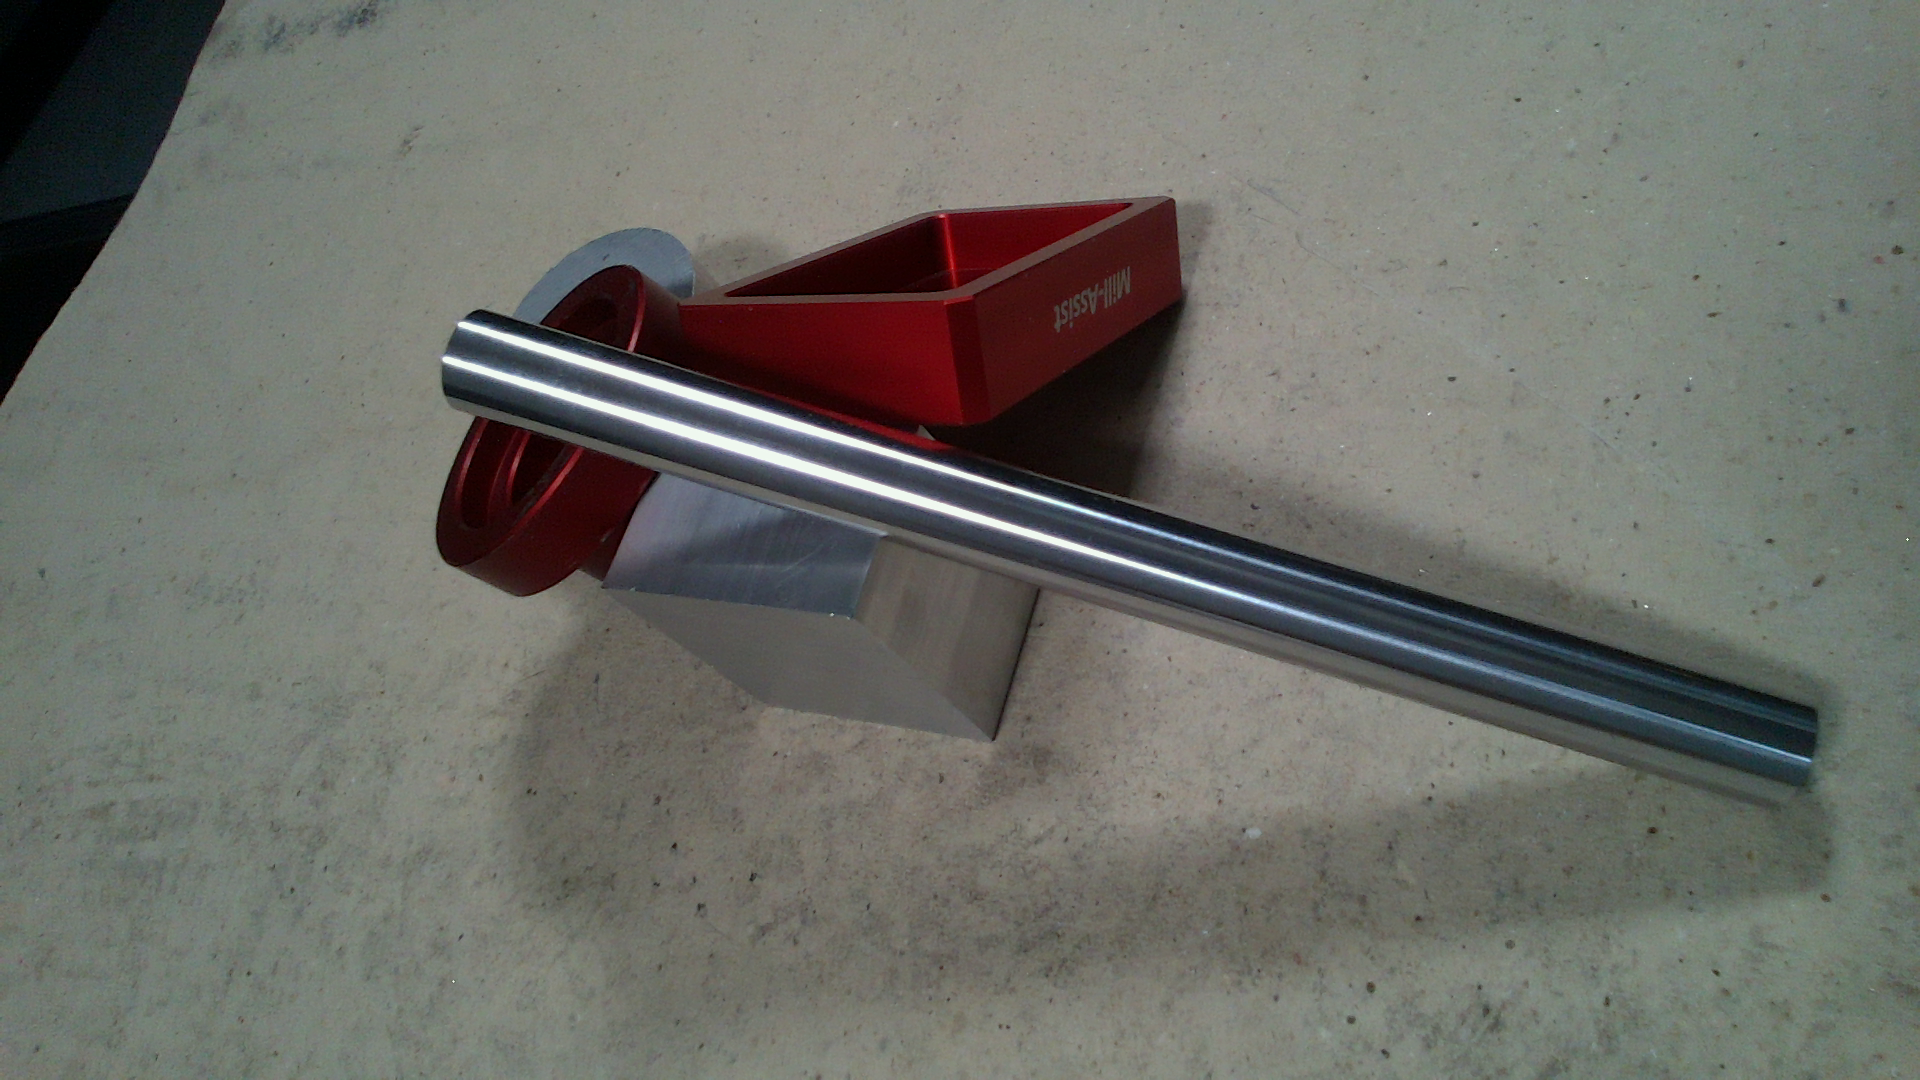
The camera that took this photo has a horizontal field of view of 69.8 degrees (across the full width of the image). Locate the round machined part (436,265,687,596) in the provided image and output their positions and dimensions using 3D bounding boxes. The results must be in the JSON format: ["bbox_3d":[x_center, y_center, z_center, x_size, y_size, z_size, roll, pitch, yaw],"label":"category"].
[{"bbox_3d":[-0.106,-0.027,0.400,0.098,0.042,0.098,-32,41,32],"label":"round machined part"}]

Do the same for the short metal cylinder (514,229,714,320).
[{"bbox_3d":[-0.111,-0.059,0.475,0.080,0.050,0.080,-14,56,21],"label":"short metal cylinder"}]

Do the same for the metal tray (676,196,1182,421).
[{"bbox_3d":[-0.003,-0.068,0.385,0.090,0.030,0.130,5,24,31],"label":"metal tray"}]

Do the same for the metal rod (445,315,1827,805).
[{"bbox_3d":[0.027,0.000,0.303,0.300,0.025,0.025,16,68,9],"label":"metal rod"}]

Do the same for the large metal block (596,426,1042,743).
[{"bbox_3d":[-0.034,0.011,0.369,0.080,0.080,0.050,5,64,31],"label":"large metal block"}]
